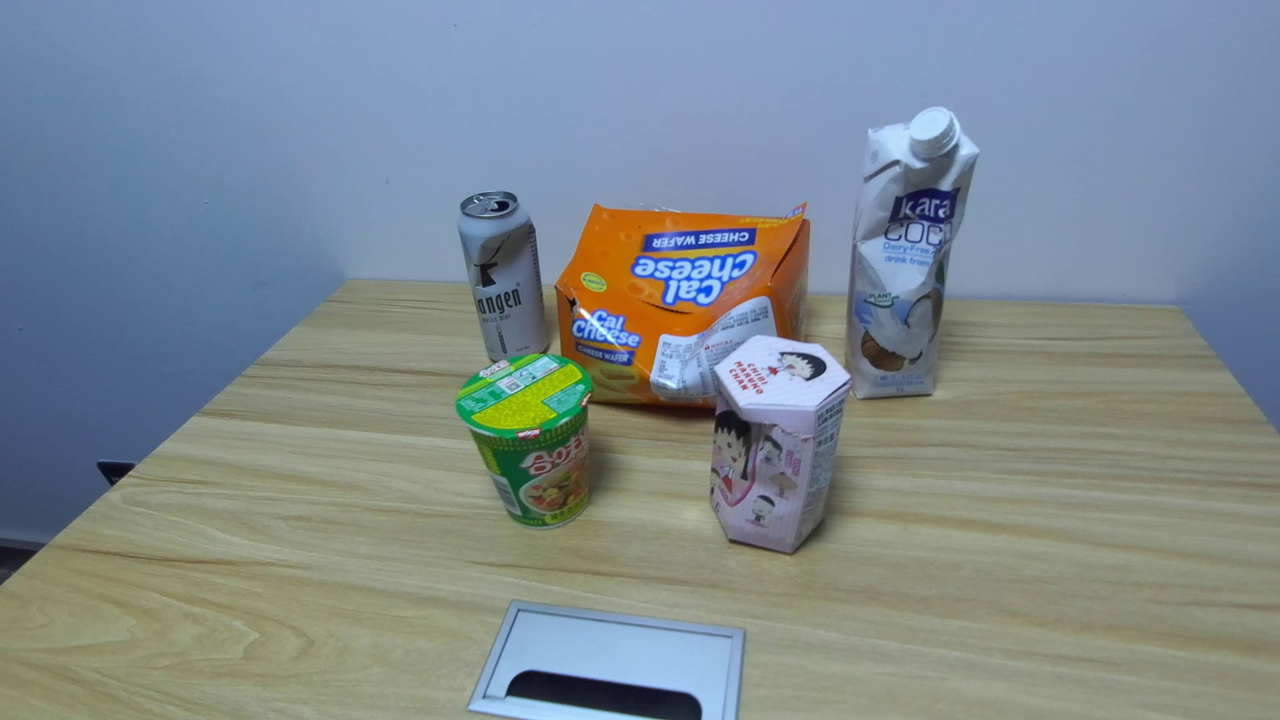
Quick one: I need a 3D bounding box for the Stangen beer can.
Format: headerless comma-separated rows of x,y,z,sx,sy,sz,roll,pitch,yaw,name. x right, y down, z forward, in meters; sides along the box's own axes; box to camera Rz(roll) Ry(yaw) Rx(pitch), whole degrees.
-0.134,-0.079,0.703,0.070,0.173,0.069,5,36,16,Stangen beer can

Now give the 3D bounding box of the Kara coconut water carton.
0.218,-0.085,0.588,0.083,0.256,0.078,5,37,14,Kara coconut water carton

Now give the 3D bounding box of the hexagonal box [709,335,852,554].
0.096,0.059,0.501,0.090,0.135,0.091,12,38,20,hexagonal box

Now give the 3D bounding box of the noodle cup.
-0.080,0.068,0.539,0.097,0.110,0.097,-3,34,2,noodle cup

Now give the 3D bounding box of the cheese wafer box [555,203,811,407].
0.042,-0.047,0.656,0.218,0.145,0.191,4,35,13,cheese wafer box
